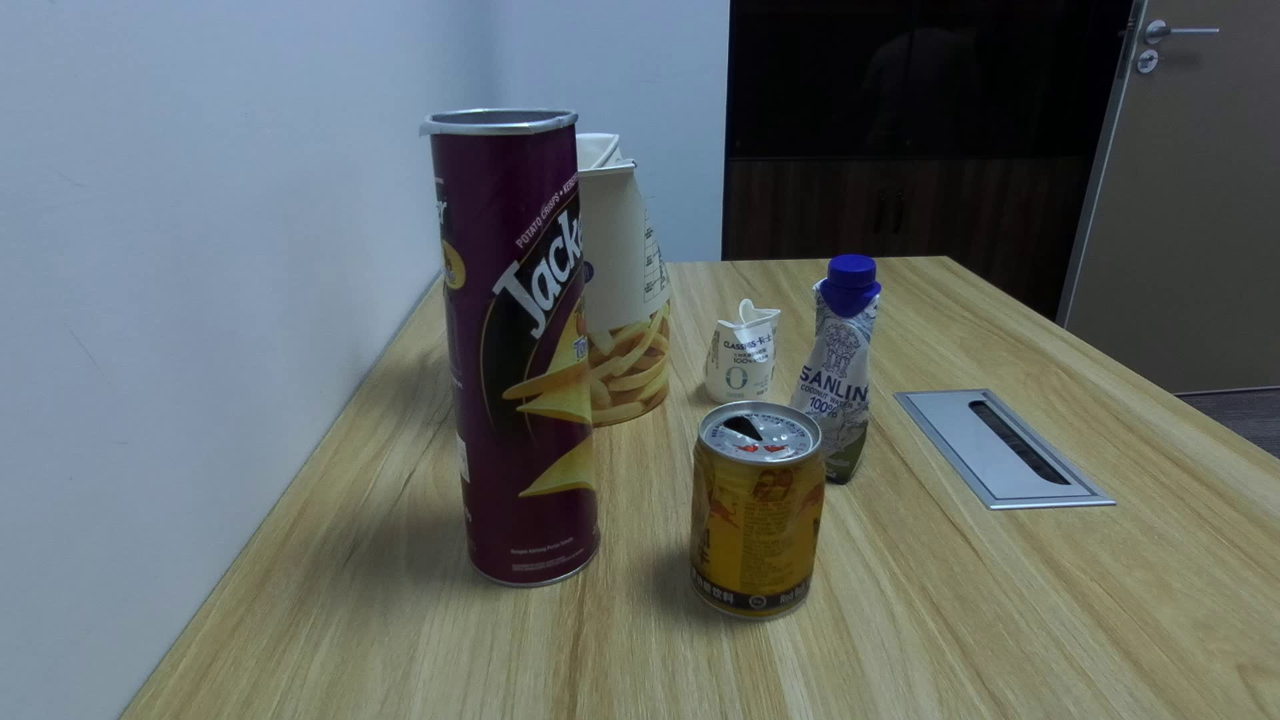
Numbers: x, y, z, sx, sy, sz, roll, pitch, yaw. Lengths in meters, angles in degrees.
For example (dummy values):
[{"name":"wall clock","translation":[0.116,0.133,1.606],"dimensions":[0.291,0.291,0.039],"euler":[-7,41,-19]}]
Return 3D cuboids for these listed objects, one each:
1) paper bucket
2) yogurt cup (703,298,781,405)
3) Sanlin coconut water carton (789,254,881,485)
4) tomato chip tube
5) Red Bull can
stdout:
[{"name":"paper bucket","translation":[-0.045,-0.062,0.548],"dimensions":[0.170,0.202,0.162],"euler":[-17,30,-28]},{"name":"yogurt cup","translation":[0.081,-0.005,0.566],"dimensions":[0.055,0.072,0.055],"euler":[-16,30,-29]},{"name":"Sanlin coconut water carton","translation":[0.136,0.004,0.464],"dimensions":[0.056,0.144,0.069],"euler":[20,21,24]},{"name":"tomato chip tube","translation":[-0.062,-0.001,0.370],"dimensions":[0.076,0.234,0.080],"euler":[12,25,30]},{"name":"Red Bull can","translation":[0.059,0.075,0.359],"dimensions":[0.068,0.093,0.068],"euler":[-1,24,1]}]
